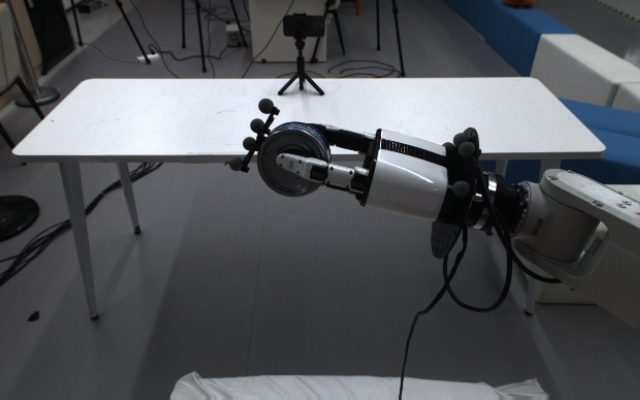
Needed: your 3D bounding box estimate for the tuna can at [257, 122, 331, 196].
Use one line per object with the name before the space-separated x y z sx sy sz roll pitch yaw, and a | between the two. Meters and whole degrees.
tuna can | -0.027 -0.045 0.574 0.085 0.085 0.034 3 21 2
